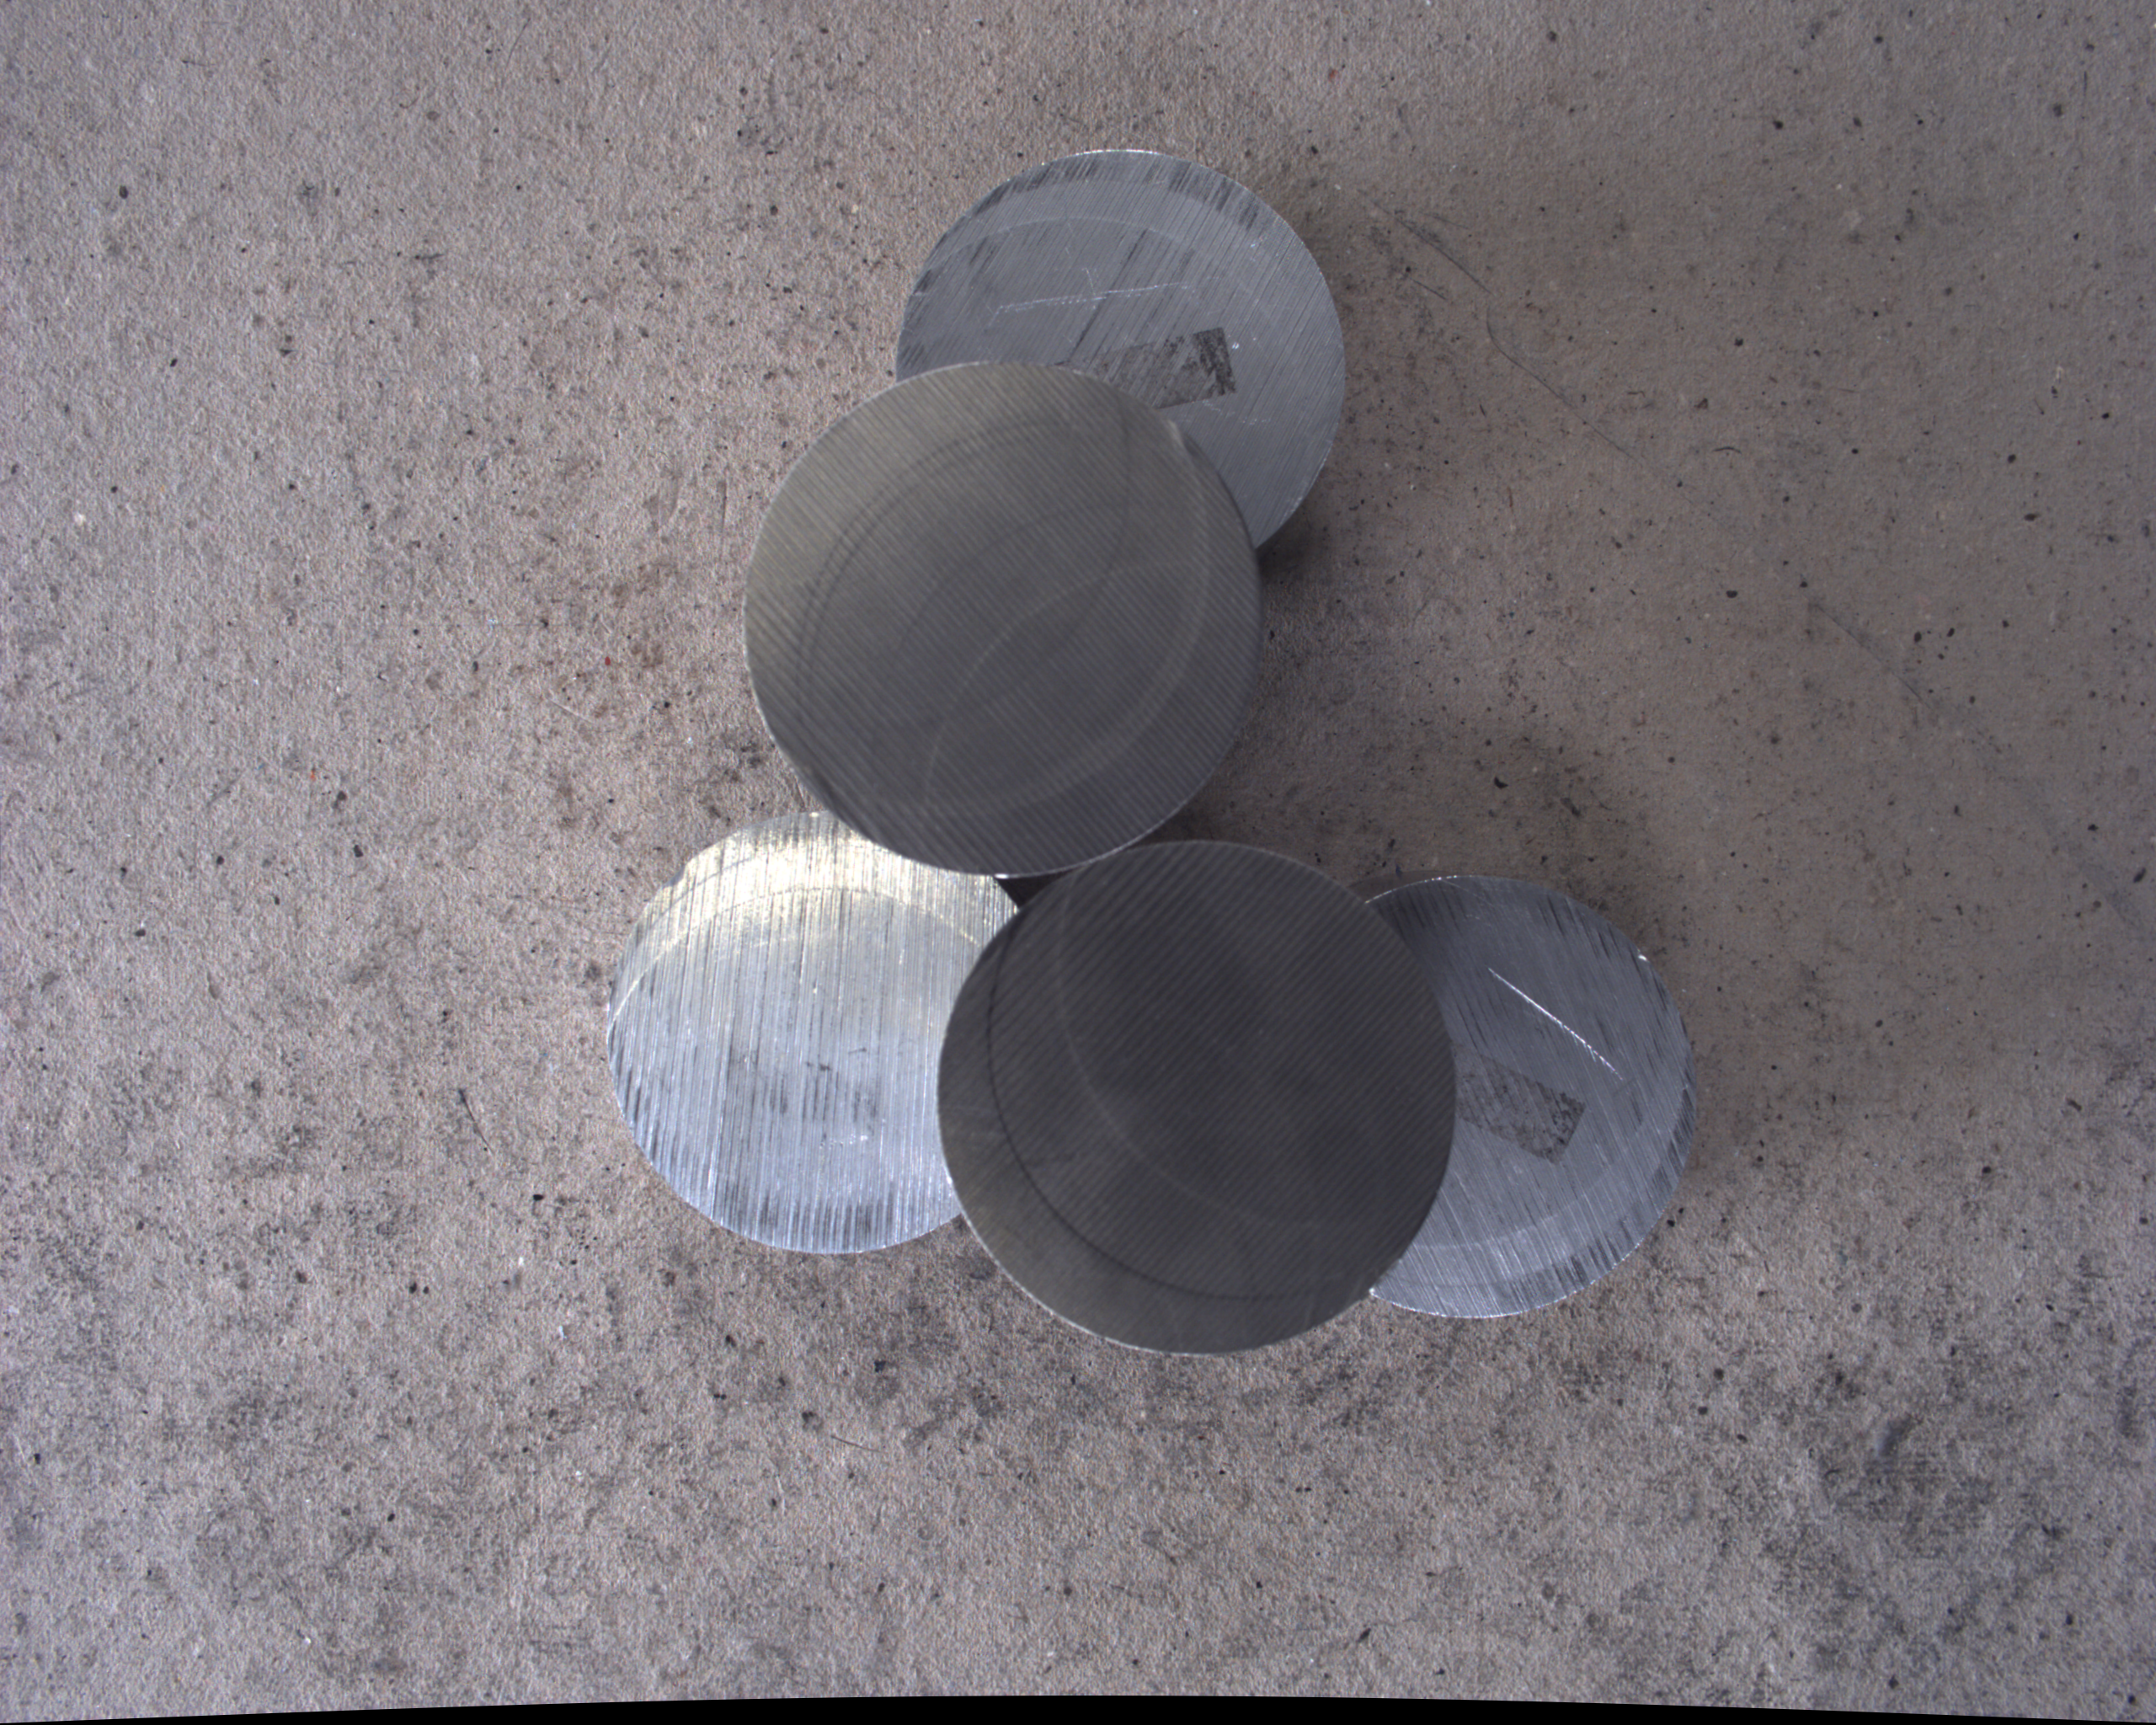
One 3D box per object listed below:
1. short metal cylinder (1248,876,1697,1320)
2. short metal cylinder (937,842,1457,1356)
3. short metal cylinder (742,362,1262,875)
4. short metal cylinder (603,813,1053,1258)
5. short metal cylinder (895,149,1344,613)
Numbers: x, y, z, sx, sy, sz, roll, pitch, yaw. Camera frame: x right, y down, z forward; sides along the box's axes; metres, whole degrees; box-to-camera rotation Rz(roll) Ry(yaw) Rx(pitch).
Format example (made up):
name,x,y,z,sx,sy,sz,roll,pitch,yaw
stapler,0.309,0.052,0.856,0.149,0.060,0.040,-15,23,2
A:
name,x,y,z,sx,sy,sz,roll,pitch,yaw
short metal cylinder,0.071,0.042,0.399,0.081,0.050,0.080,0,90,0
short metal cylinder,0.018,0.036,0.348,0.081,0.050,0.080,0,90,-1
short metal cylinder,-0.012,-0.038,0.348,0.080,0.050,0.080,0,90,0
short metal cylinder,-0.045,0.031,0.398,0.081,0.050,0.080,0,90,0
short metal cylinder,0.007,-0.088,0.399,0.081,0.050,0.080,0,90,0
